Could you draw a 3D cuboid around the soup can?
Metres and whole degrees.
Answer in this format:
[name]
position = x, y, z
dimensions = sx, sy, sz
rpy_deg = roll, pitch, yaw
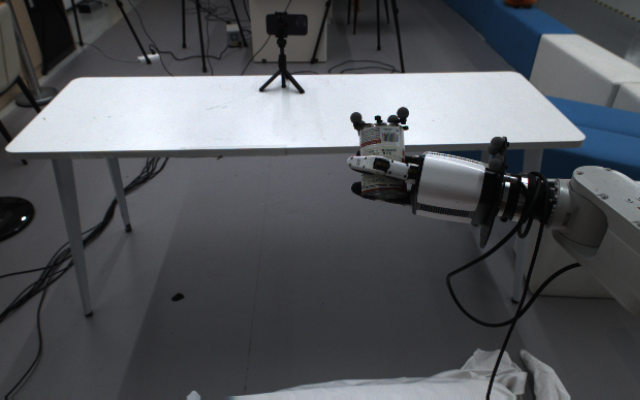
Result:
[soup can]
position = 0.094, -0.056, 0.714
dimensions = 0.067, 0.101, 0.067
rpy_deg = -1, -9, 0
